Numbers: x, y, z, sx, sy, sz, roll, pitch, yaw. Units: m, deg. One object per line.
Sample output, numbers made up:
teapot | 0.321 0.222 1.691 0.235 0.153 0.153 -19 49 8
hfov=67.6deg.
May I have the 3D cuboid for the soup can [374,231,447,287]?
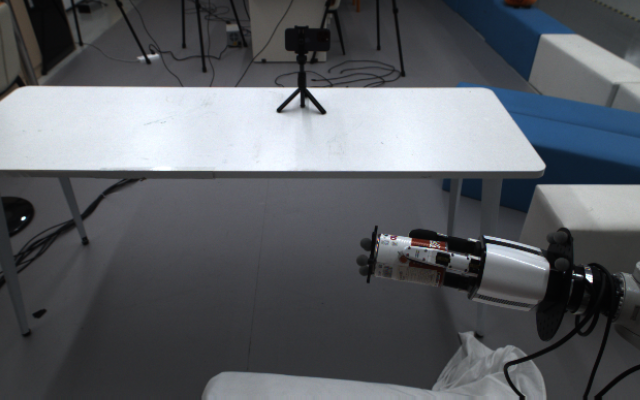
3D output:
soup can | 0.135 0.088 0.716 0.101 0.067 0.067 7 35 10
